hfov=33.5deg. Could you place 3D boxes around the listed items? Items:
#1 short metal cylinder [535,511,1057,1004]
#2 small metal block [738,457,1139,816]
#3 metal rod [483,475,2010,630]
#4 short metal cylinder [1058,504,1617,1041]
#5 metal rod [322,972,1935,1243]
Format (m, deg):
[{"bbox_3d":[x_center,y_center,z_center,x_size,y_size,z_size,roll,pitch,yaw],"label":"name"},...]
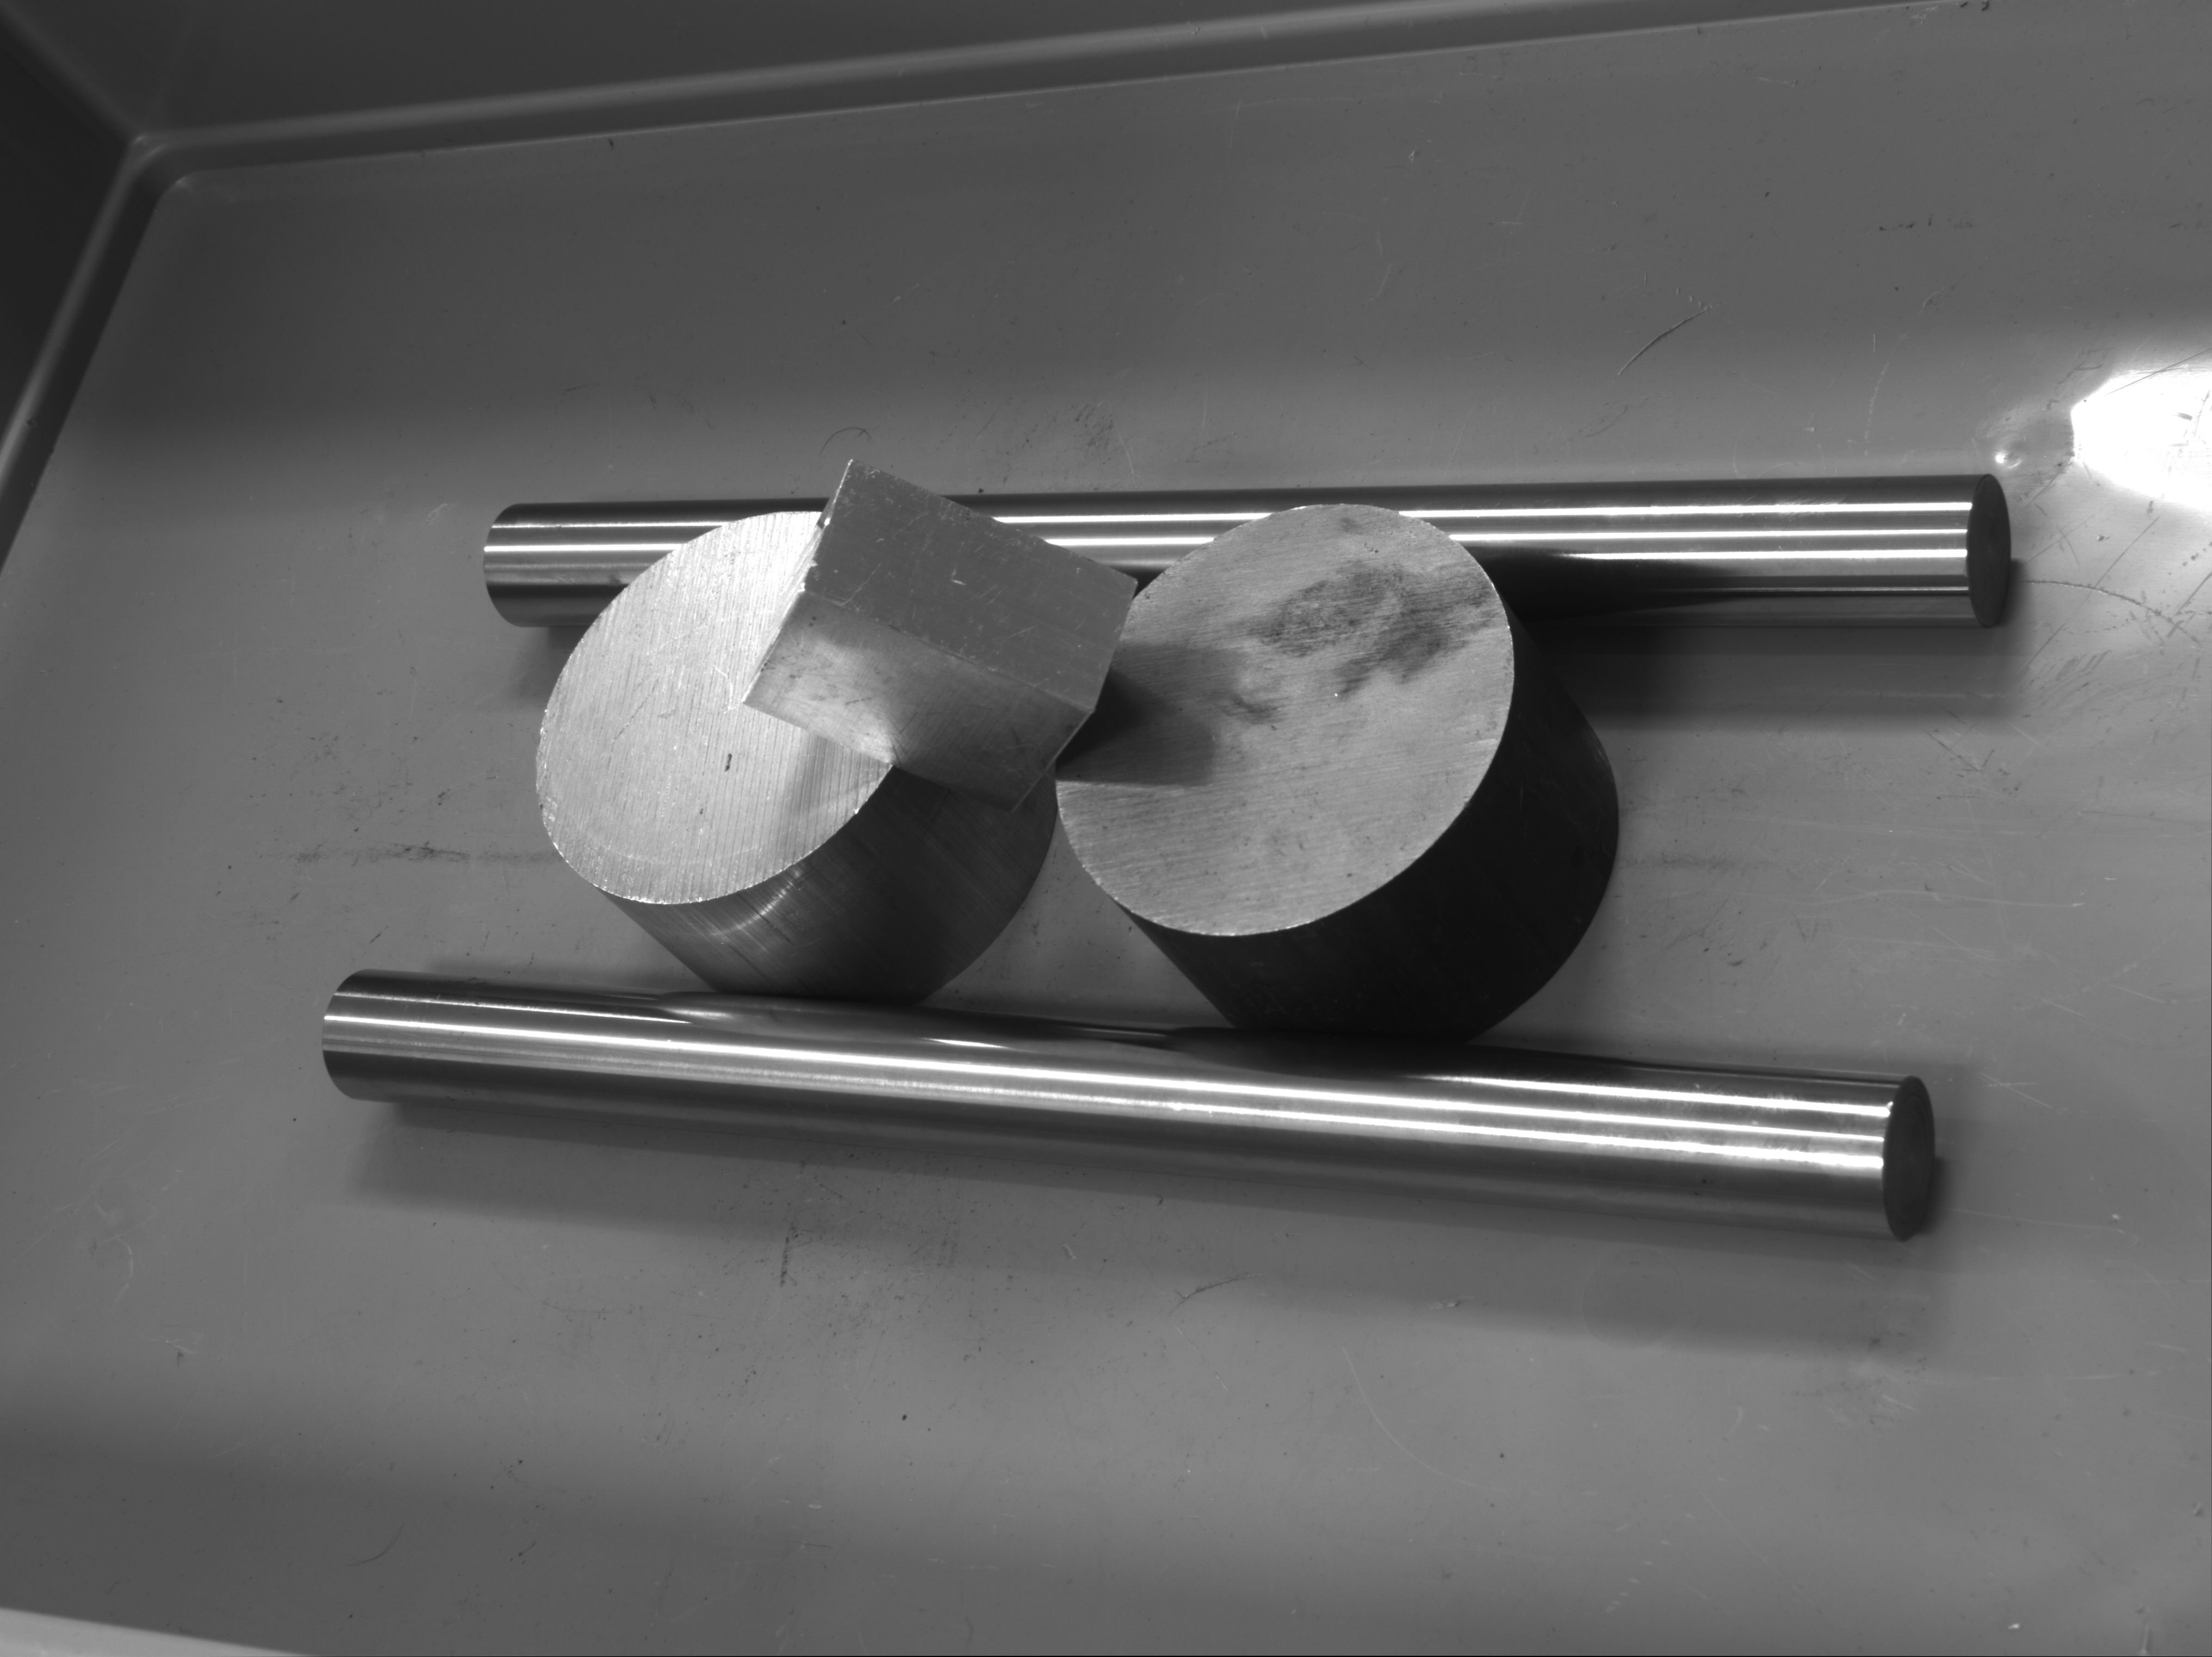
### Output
[{"bbox_3d":[-0.056,-0.010,0.665,0.080,0.050,0.080,-14,56,21],"label":"short metal cylinder"},{"bbox_3d":[-0.028,-0.030,0.602,0.050,0.050,0.025,22,66,-9],"label":"small metal block"},{"bbox_3d":[0.013,-0.049,0.668,0.299,0.025,0.025,2,62,29],"label":"metal rod"},{"bbox_3d":[0.039,-0.007,0.611,0.080,0.050,0.080,-14,56,21],"label":"short metal cylinder"},{"bbox_3d":[-0.010,0.044,0.622,0.299,0.025,0.025,2,63,29],"label":"metal rod"}]
